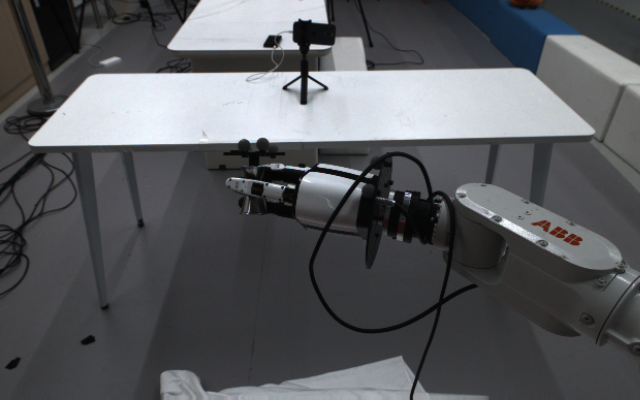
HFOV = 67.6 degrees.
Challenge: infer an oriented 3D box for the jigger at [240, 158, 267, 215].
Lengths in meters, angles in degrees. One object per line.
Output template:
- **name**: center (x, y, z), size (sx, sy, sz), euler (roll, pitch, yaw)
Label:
- **jigger**: center (-0.093, -0.015, 0.690), size (0.043, 0.071, 0.043), euler (0, 3, 0)
